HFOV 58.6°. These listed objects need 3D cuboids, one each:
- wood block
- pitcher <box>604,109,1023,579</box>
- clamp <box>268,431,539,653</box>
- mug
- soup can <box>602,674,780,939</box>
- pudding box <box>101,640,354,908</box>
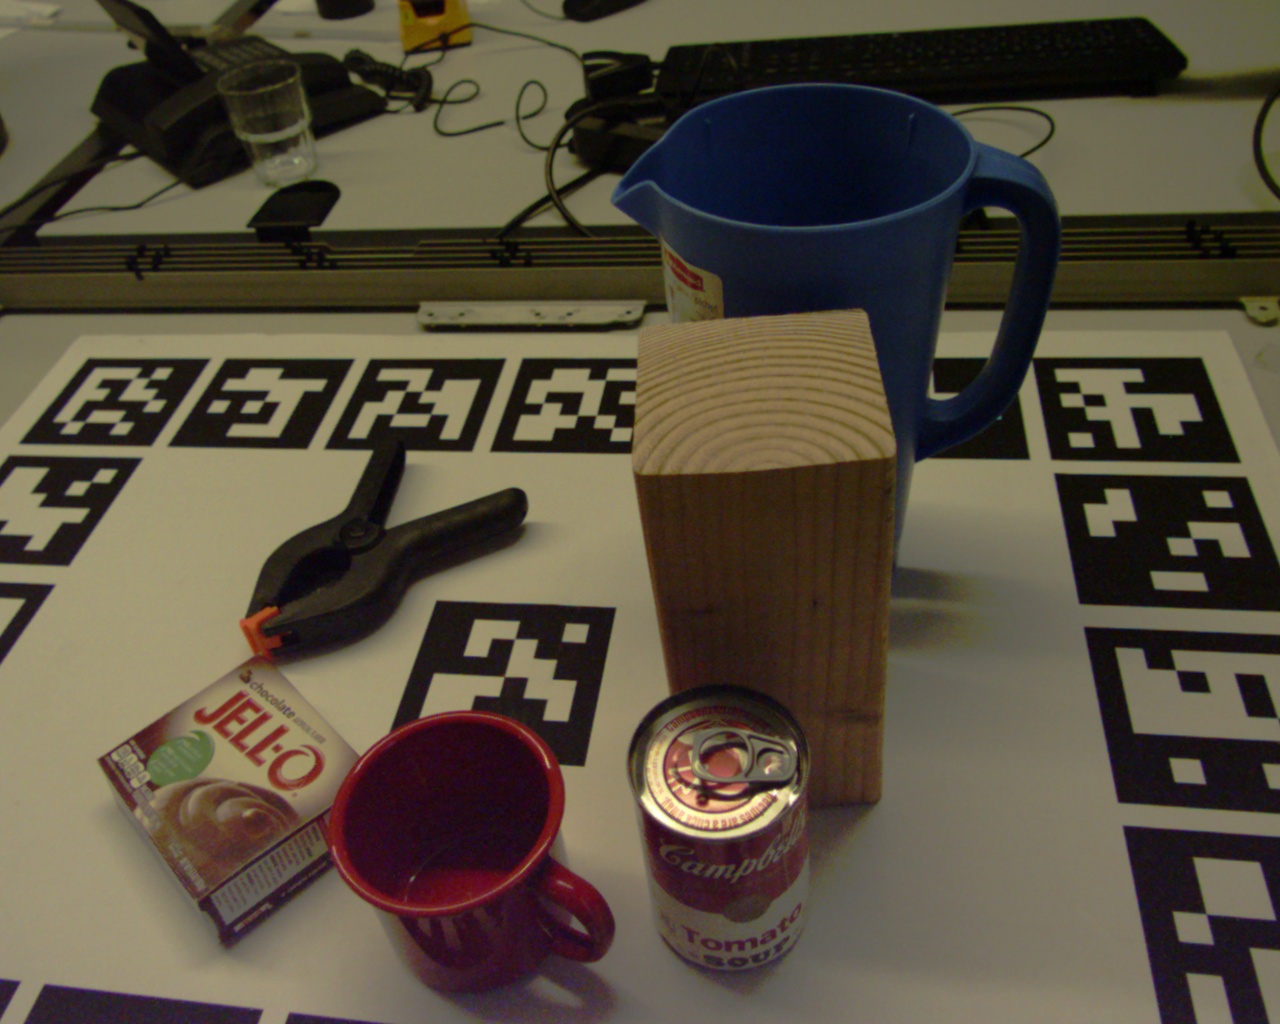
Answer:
[{"bbox_3d":[0.049,0.026,0.504,0.090,0.205,0.091,2,43,6],"label":"wood block"},{"bbox_3d":[0.089,-0.067,0.576,0.190,0.241,0.133,-1,40,12],"label":"pitcher"},{"bbox_3d":[-0.155,0.021,0.683,0.123,0.036,0.164,29,54,25],"label":"clamp"},{"bbox_3d":[-0.069,0.145,0.489,0.092,0.081,0.119,-36,48,-30],"label":"mug"},{"bbox_3d":[0.024,0.125,0.478,0.068,0.101,0.068,-5,45,4],"label":"soup can"},{"bbox_3d":[-0.199,0.127,0.568,0.089,0.038,0.115,-38,49,-25],"label":"pudding box"}]
